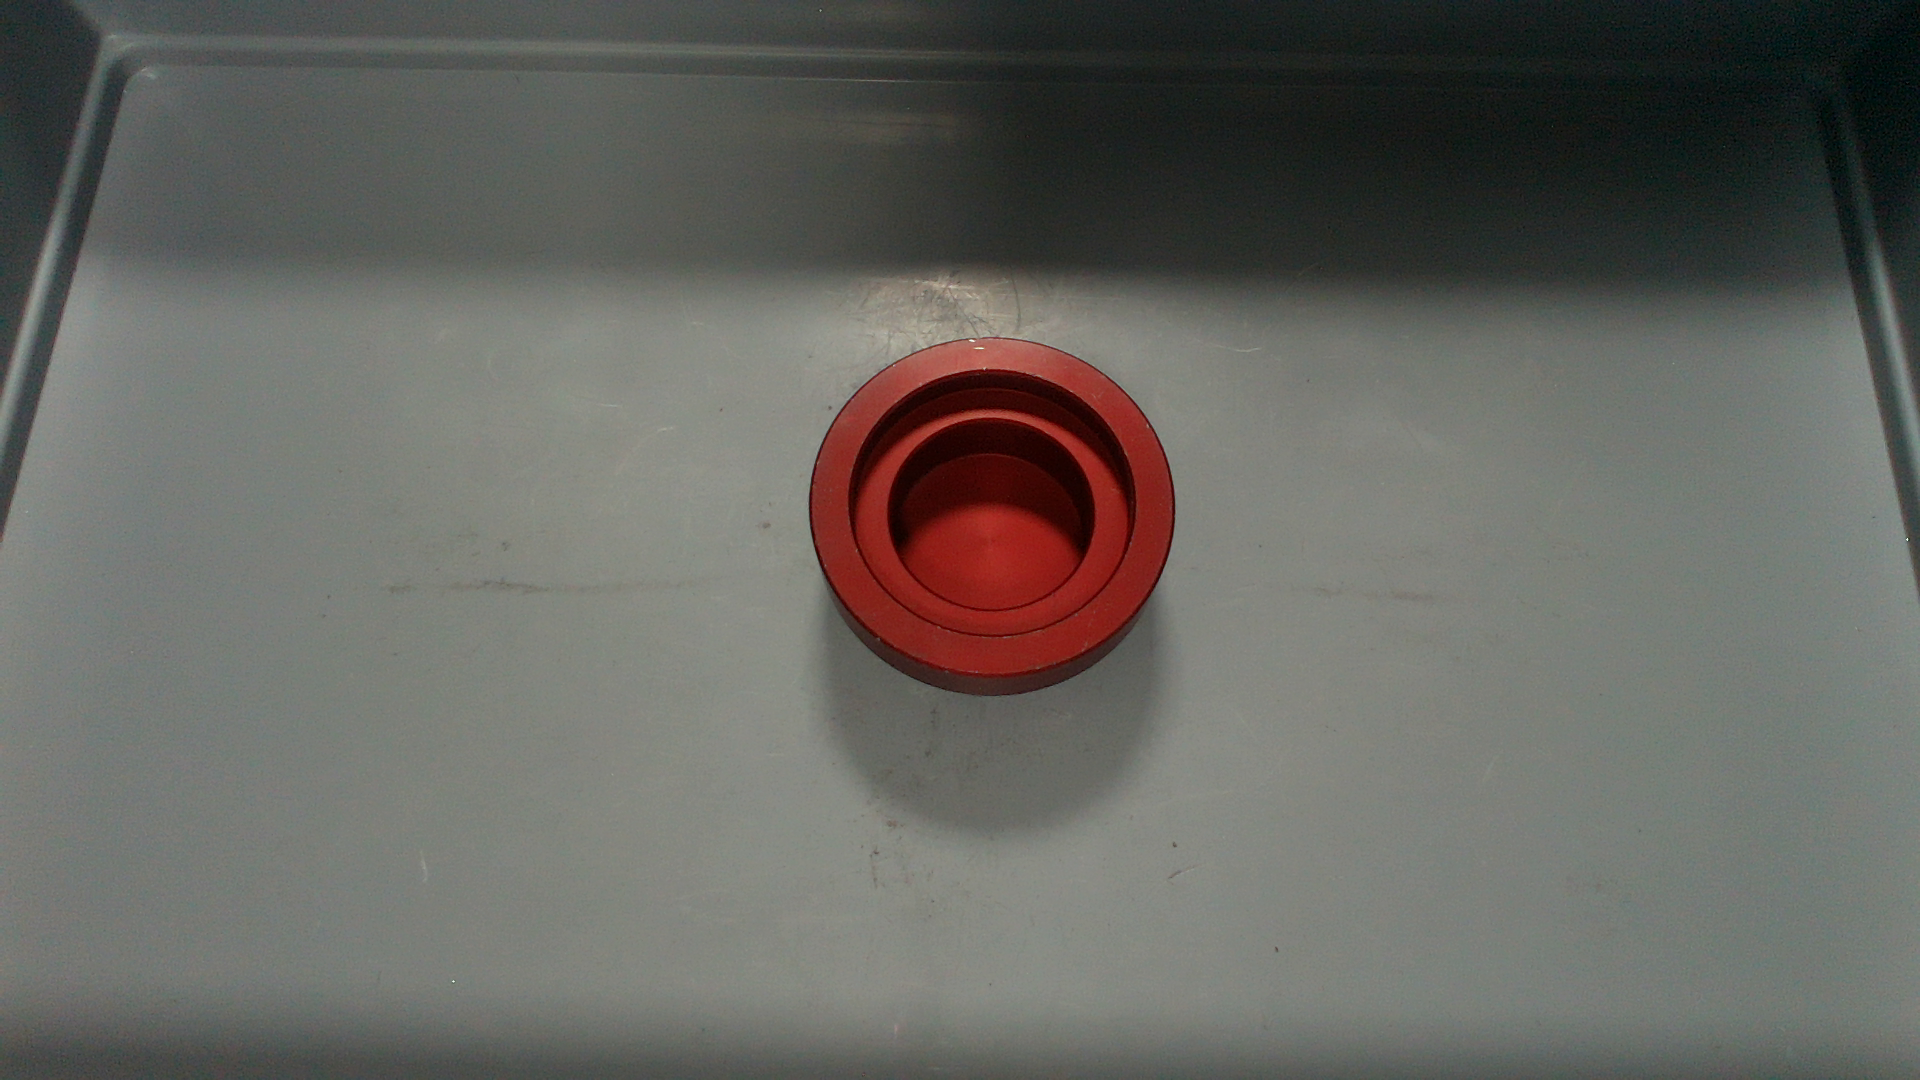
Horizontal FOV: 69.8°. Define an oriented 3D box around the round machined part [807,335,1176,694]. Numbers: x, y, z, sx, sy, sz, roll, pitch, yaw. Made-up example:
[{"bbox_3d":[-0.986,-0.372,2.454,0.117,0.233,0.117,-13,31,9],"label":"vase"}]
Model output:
[{"bbox_3d":[0.009,-0.004,0.384,0.098,0.042,0.098,0,70,0],"label":"round machined part"}]
